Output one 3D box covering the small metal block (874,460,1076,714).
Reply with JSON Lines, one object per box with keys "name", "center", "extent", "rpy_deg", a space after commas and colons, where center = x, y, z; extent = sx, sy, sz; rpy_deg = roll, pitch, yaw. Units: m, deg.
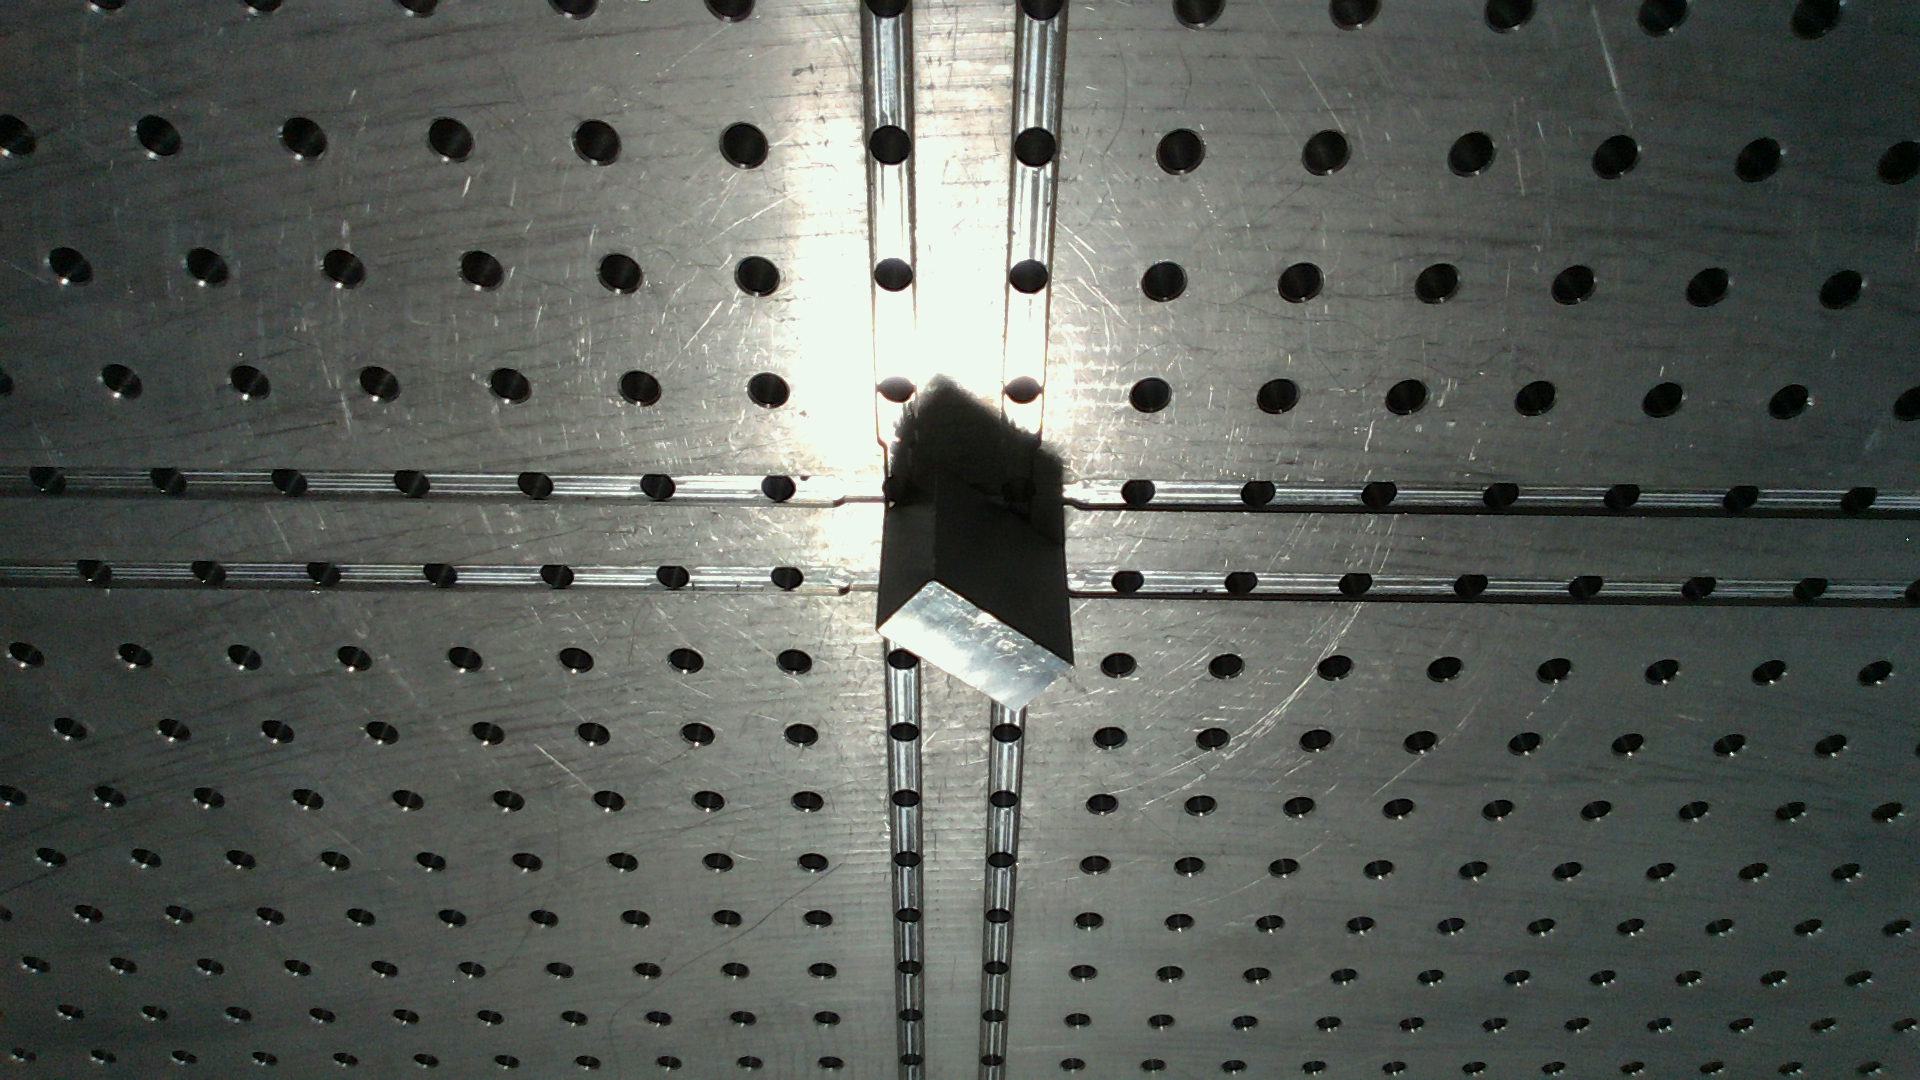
{"name": "small metal block", "center": [0.004, 0.013, 0.388], "extent": [0.050, 0.050, 0.025], "rpy_deg": [33, 123, -24]}
